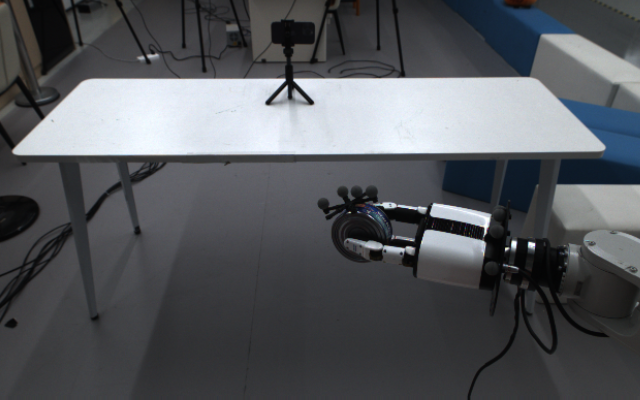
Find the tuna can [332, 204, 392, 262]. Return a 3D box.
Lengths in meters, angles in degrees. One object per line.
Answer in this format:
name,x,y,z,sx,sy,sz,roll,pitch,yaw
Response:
tuna can,0.064,0.054,0.706,0.085,0.085,0.034,15,29,18
